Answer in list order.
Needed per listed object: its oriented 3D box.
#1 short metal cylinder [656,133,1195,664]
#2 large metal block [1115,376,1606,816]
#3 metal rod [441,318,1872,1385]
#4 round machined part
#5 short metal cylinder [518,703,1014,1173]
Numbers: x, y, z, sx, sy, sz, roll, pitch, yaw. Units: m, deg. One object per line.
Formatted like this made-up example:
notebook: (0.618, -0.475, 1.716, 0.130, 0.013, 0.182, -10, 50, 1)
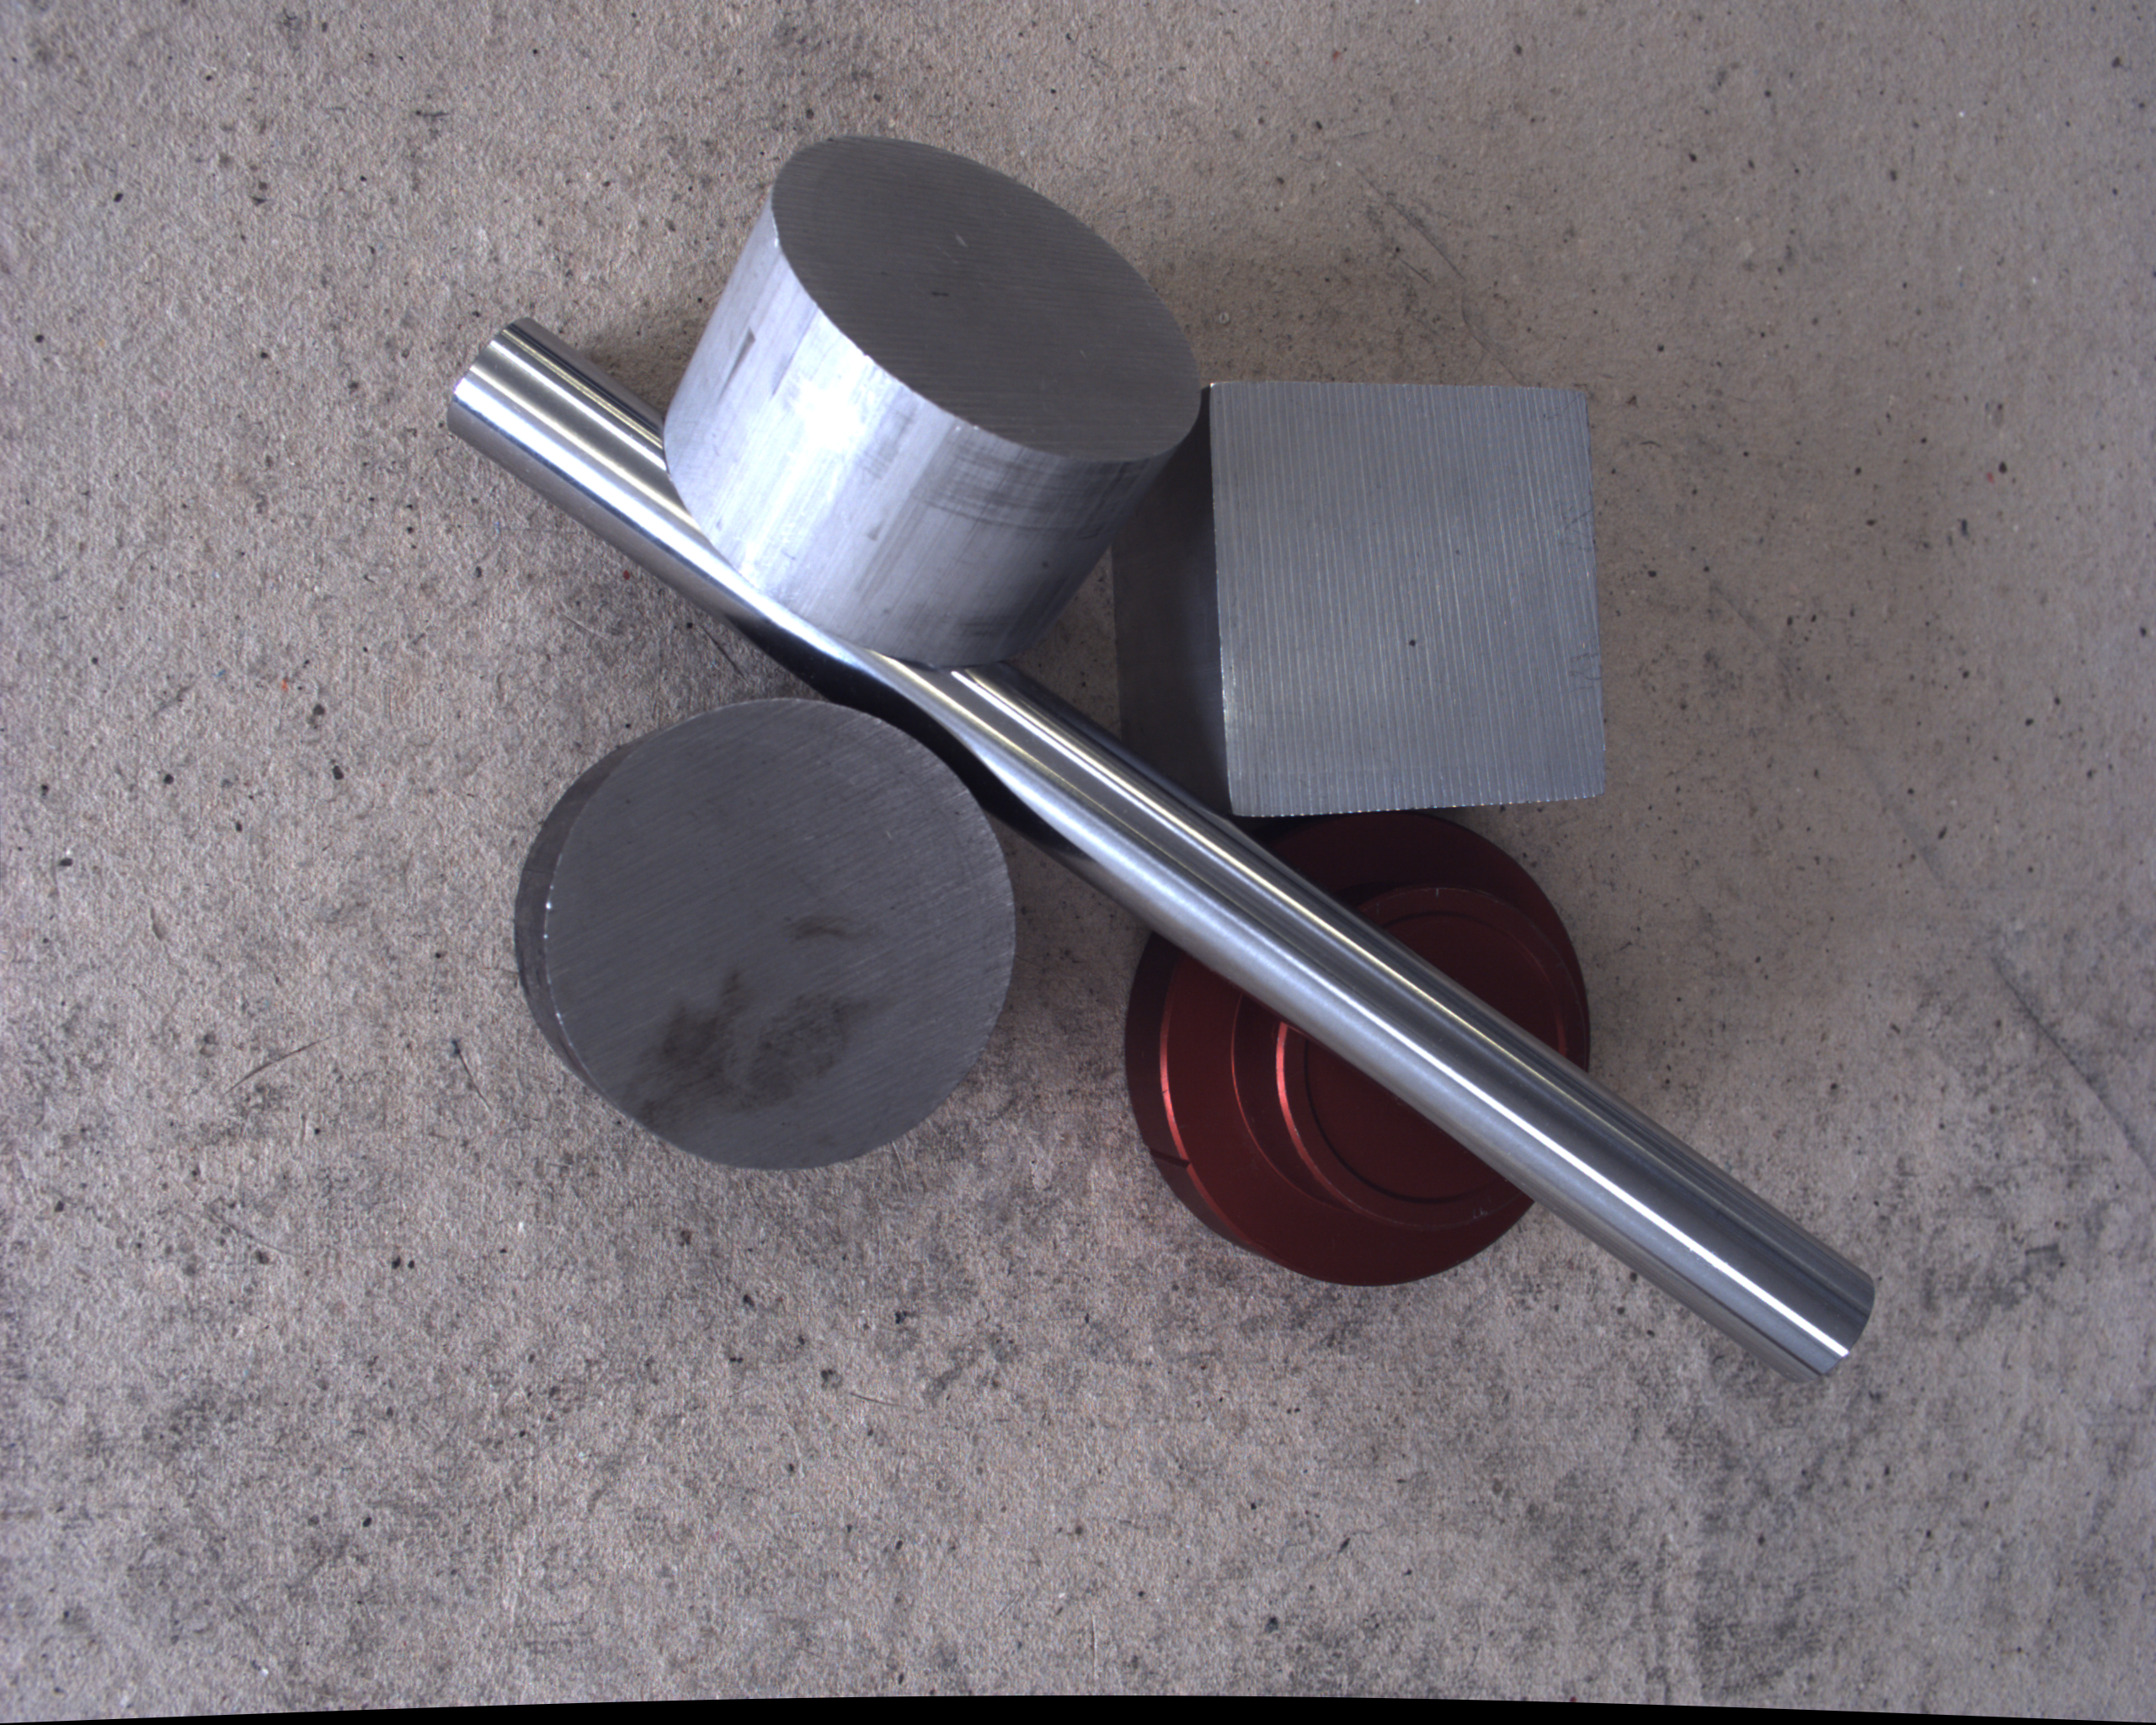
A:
short metal cylinder: (-0.027, -0.081, 0.367, 0.080, 0.050, 0.080, 21, 43, -21)
large metal block: (0.055, -0.051, 0.415, 0.081, 0.050, 0.079, -3, 91, -20)
metal rod: (0.017, 0.000, 0.381, 0.301, 0.025, 0.025, 35, 78, -3)
round machined part: (0.063, 0.038, 0.424, 0.099, 0.042, 0.097, 0, 90, -20)
short metal cylinder: (-0.058, 0.013, 0.377, 0.081, 0.050, 0.080, 0, 90, -20)
